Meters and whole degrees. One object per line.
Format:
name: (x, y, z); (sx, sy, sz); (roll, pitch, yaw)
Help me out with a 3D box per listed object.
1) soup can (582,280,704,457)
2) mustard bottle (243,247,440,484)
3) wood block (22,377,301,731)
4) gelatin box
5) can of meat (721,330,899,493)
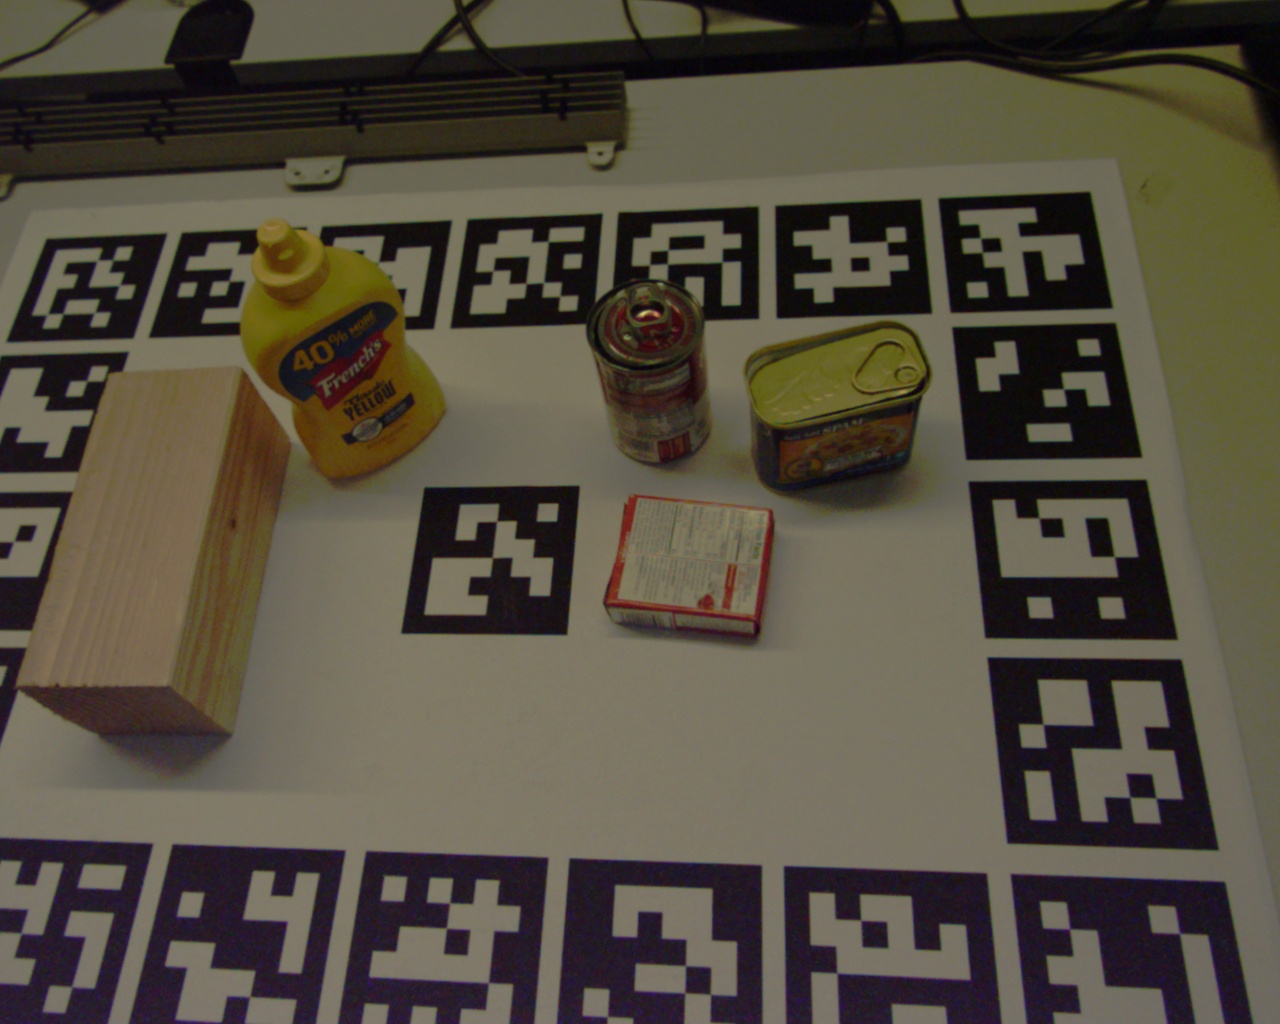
soup can: (0.005, -0.087, 0.717); (0.068, 0.101, 0.068); (-3, 63, 6)
mustard bottle: (-0.192, -0.094, 0.712); (0.096, 0.190, 0.059); (-23, 61, -7)
wood block: (-0.290, 0.022, 0.714); (0.091, 0.089, 0.207); (1, 57, 6)
gelatin box: (0.024, 0.035, 0.693); (0.090, 0.030, 0.073); (7, 65, 14)
can of meat: (0.102, -0.060, 0.709); (0.102, 0.083, 0.058); (-12, 61, -2)
